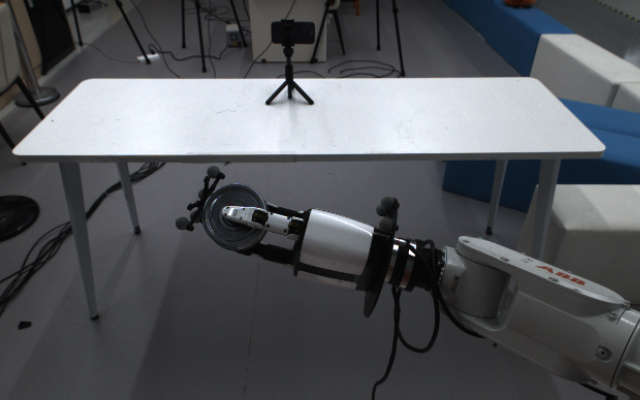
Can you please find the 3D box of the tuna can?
[{"bbox_3d":[-0.108,0.021,0.636,0.085,0.034,0.085,0,75,-2],"label":"tuna can"}]
